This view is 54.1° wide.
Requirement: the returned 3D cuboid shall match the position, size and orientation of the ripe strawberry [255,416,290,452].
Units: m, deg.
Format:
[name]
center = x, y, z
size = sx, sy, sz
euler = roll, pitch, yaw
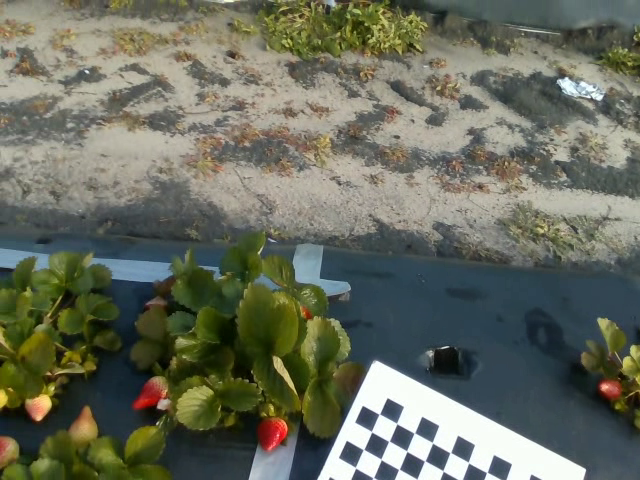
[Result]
[ripe strawberry]
center = -0.056, 0.230, 0.723
size = 0.050, 0.055, 0.036
euler = 23, -43, 3
